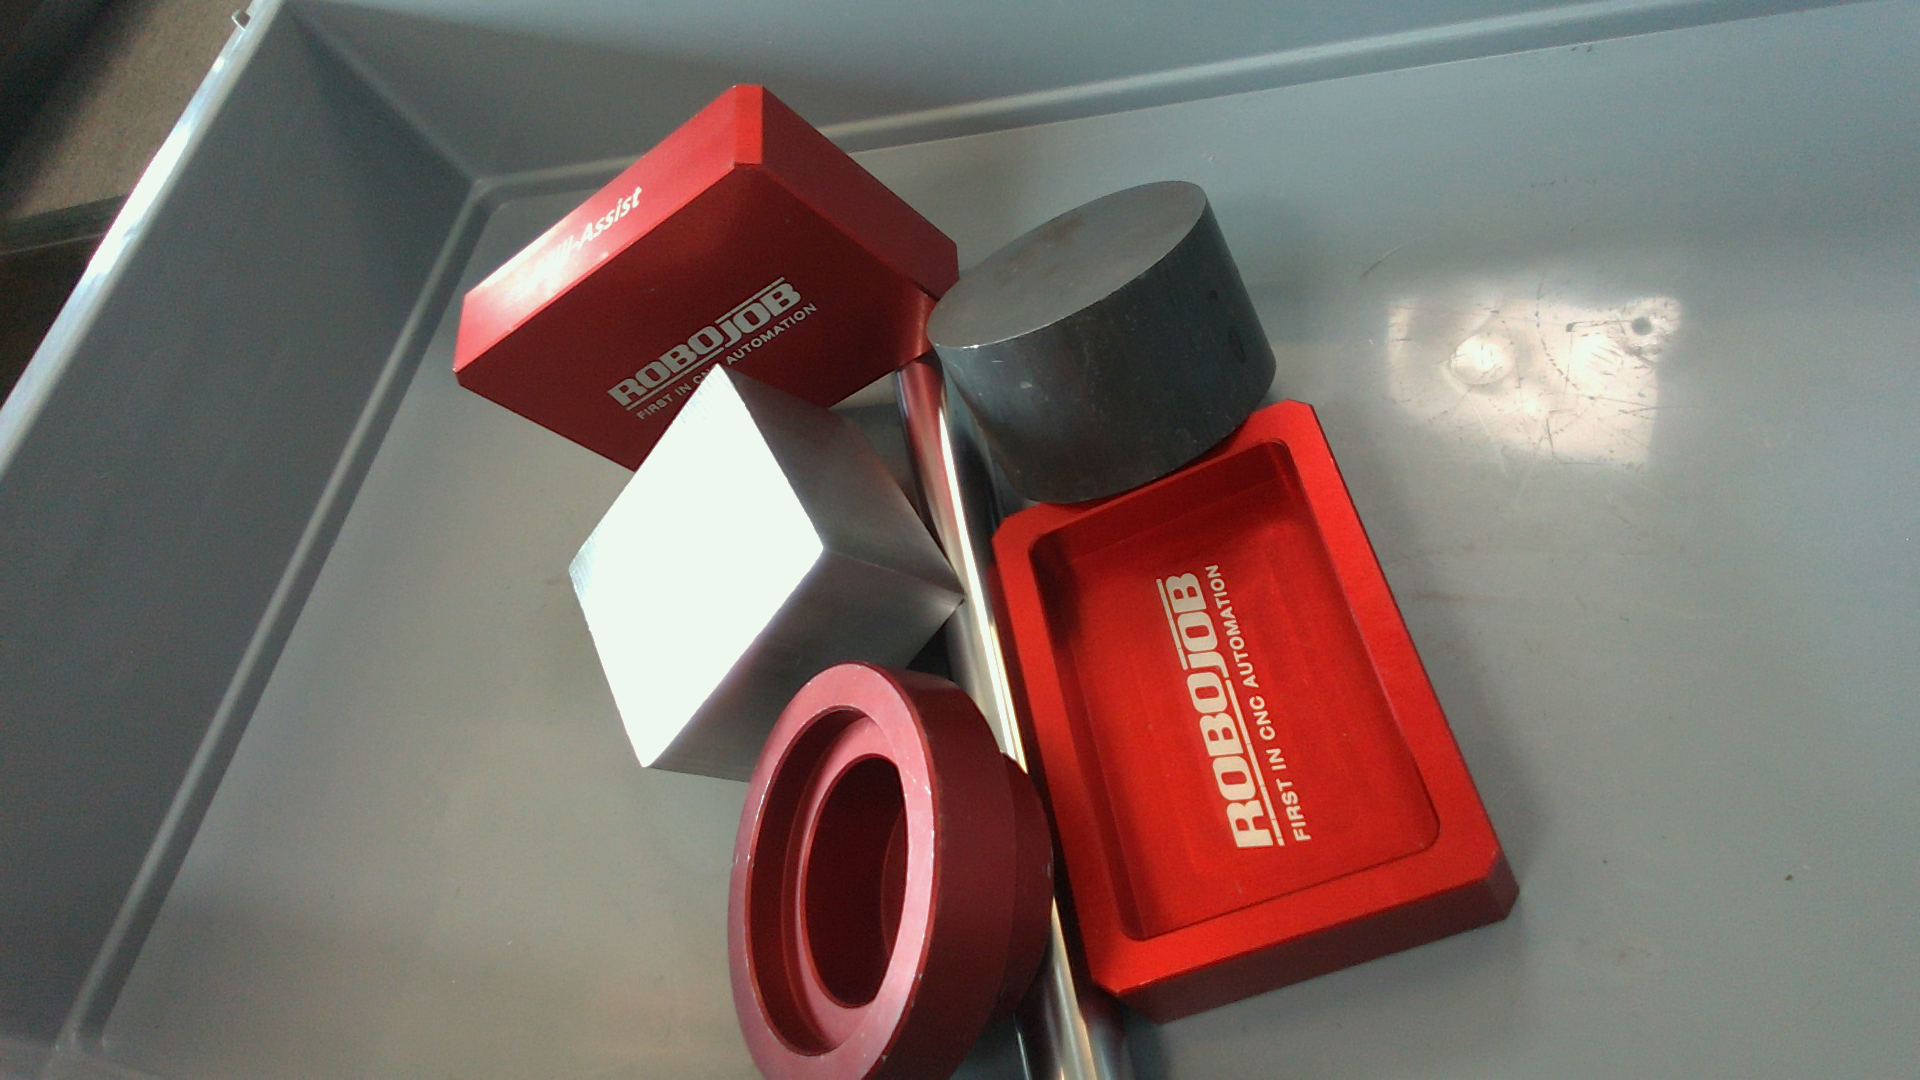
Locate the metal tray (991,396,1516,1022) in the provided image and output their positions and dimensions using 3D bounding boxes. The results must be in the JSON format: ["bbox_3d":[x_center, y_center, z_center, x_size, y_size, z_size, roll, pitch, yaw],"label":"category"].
[{"bbox_3d":[0.064,0.037,0.332,0.090,0.030,0.130,-23,53,15],"label":"metal tray"}]

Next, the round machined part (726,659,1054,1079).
[{"bbox_3d":[-0.015,0.079,0.322,0.098,0.042,0.098,-28,55,51],"label":"round machined part"}]

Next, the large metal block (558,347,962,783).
[{"bbox_3d":[-0.058,0.009,0.378,0.080,0.050,0.080,-48,49,18],"label":"large metal block"}]

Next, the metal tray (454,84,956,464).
[{"bbox_3d":[-0.076,-0.069,0.415,0.130,0.090,0.030,-26,53,31],"label":"metal tray"}]

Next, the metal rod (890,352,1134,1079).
[{"bbox_3d":[0.006,0.026,0.372,0.025,0.025,0.300,-23,53,15],"label":"metal rod"}]

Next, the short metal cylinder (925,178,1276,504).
[{"bbox_3d":[0.038,-0.054,0.370,0.080,0.050,0.080,-24,26,13],"label":"short metal cylinder"}]
